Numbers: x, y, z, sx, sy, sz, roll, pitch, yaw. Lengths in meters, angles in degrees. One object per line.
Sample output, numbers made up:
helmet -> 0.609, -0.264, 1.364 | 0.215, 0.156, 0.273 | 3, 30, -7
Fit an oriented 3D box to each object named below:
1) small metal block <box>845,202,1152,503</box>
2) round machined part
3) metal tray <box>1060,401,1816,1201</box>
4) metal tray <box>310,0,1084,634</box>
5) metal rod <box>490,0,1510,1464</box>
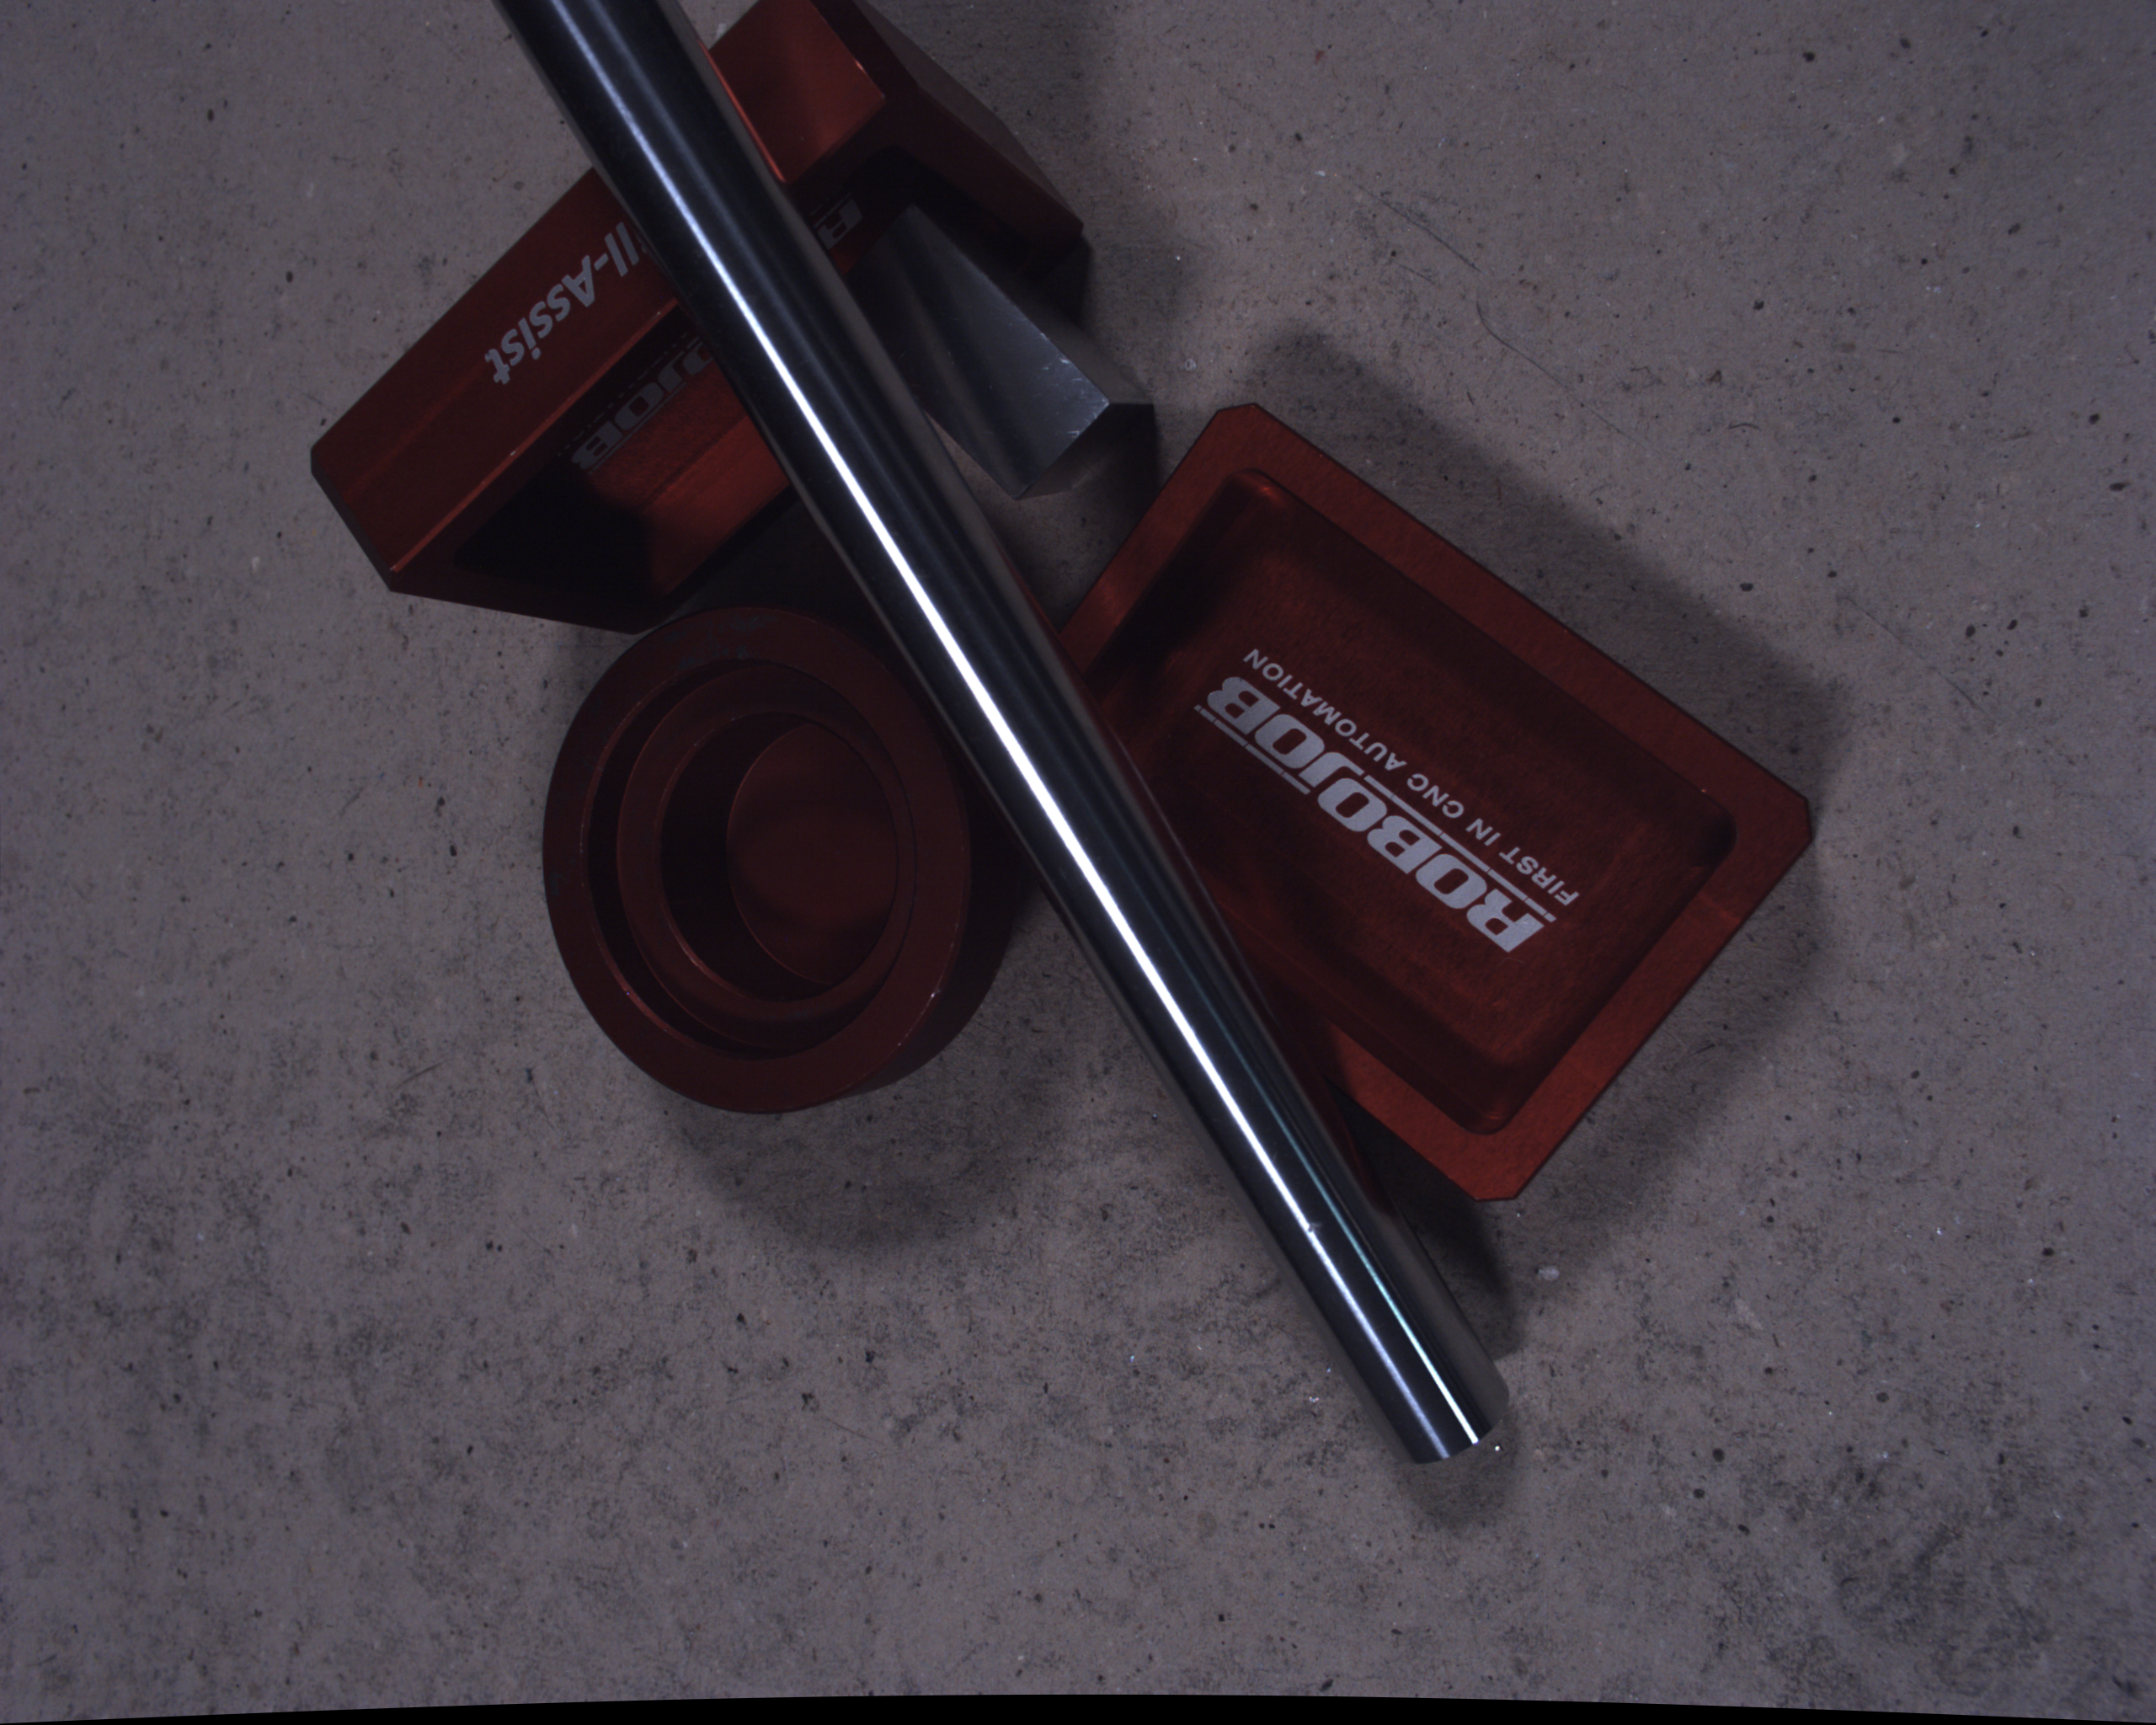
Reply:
small metal block -> -0.015, -0.096, 0.396 | 0.050, 0.050, 0.025 | 45, 107, -1
round machined part -> -0.054, -0.001, 0.415 | 0.098, 0.042, 0.097 | 2, 94, 25
metal tray -> 0.056, -0.012, 0.387 | 0.130, 0.030, 0.090 | 39, 102, 15
metal tray -> -0.069, -0.100, 0.398 | 0.130, 0.090, 0.030 | -39, 78, 15
metal rod -> -0.008, -0.021, 0.355 | 0.025, 0.025, 0.299 | -28, 103, 18
